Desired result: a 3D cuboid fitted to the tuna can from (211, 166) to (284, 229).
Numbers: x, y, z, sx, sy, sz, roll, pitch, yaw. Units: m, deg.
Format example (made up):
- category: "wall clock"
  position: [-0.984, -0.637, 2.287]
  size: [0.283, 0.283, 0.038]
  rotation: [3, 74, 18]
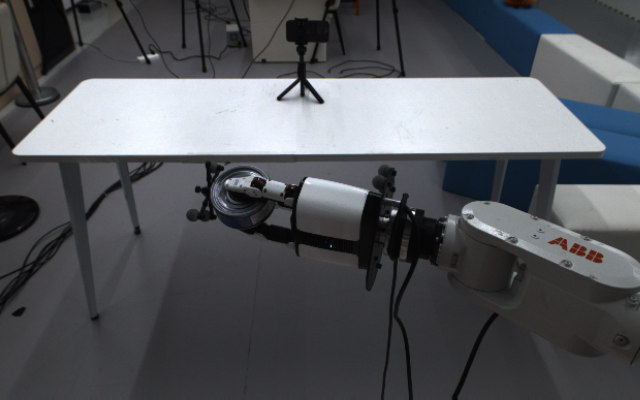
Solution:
- category: "tuna can"
  position: [-0.102, -0.005, 0.657]
  size: [0.085, 0.034, 0.085]
  rotation: [-2, 58, 3]
